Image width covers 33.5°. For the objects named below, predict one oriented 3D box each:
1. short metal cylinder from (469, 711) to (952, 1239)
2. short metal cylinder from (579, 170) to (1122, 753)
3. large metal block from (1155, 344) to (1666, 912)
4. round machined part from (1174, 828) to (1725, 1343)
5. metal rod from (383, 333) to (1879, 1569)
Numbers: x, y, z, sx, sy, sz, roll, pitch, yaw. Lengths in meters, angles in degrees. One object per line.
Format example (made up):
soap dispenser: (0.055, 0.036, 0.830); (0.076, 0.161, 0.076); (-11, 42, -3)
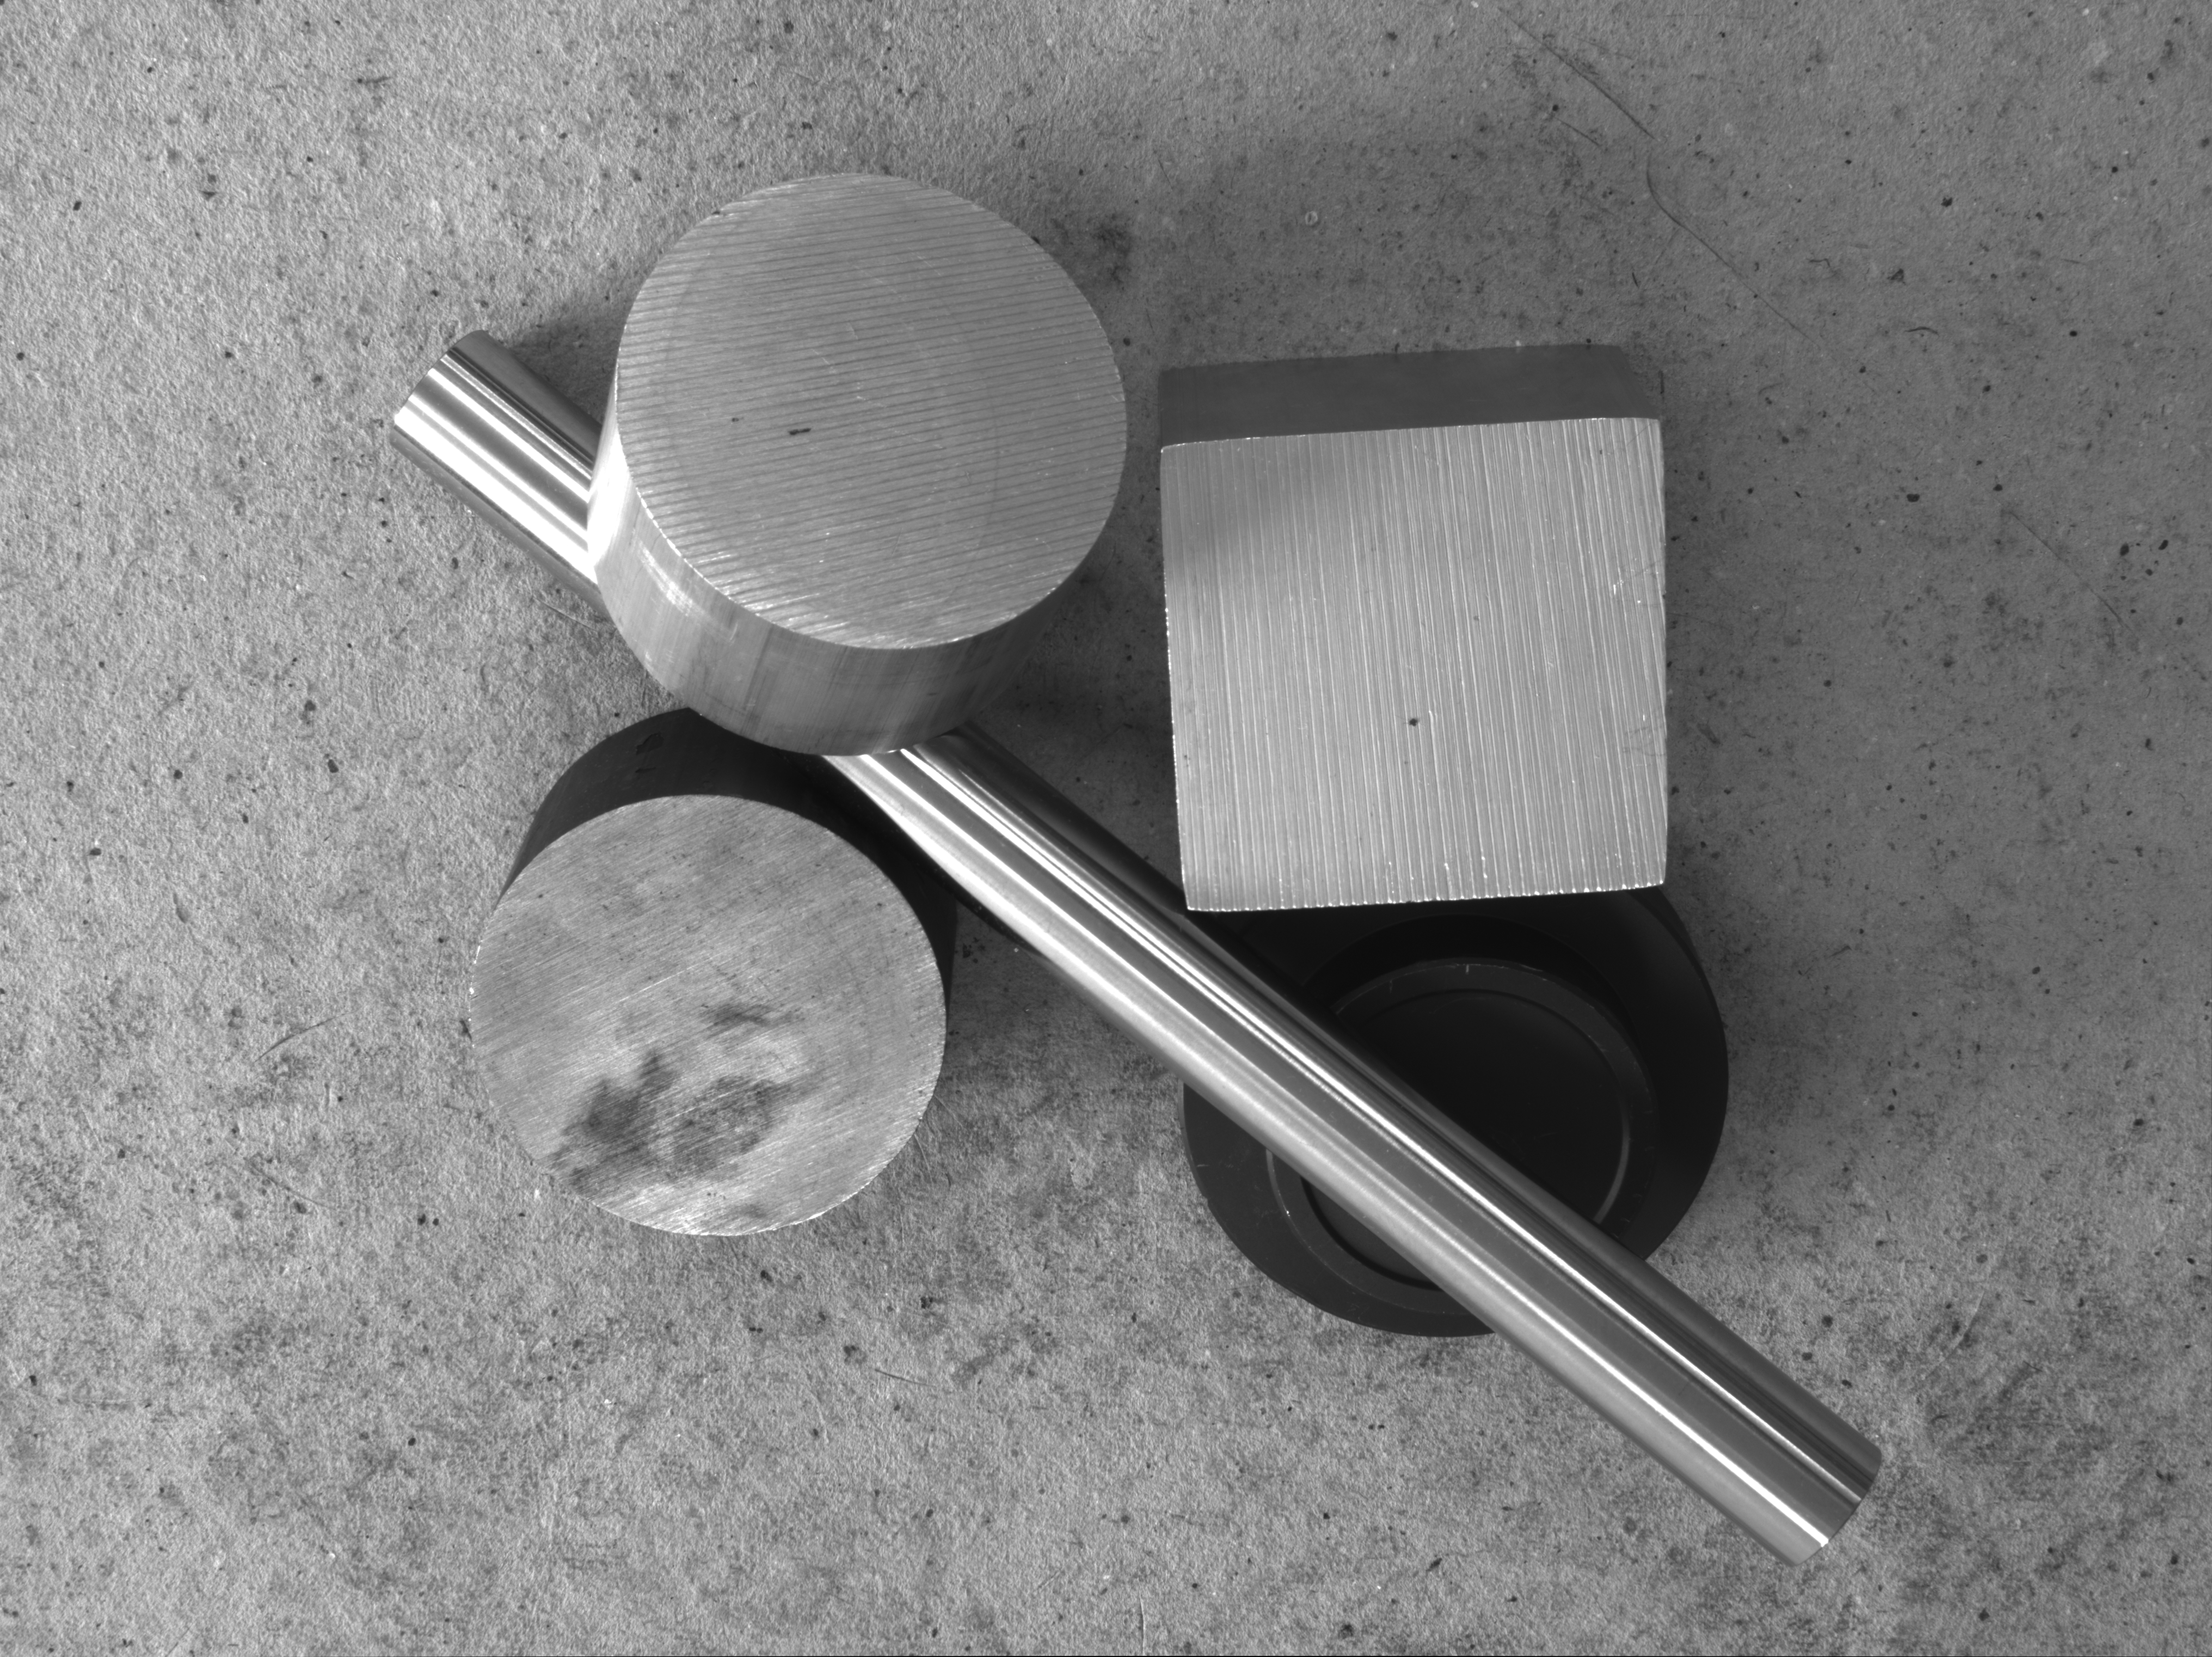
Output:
short metal cylinder: (-0.067, 0.024, 0.641); (0.080, 0.050, 0.080); (0, 110, 0)
short metal cylinder: (-0.042, -0.058, 0.590); (0.080, 0.050, 0.080); (4, 72, -13)
large metal block: (0.050, -0.034, 0.616); (0.080, 0.050, 0.080); (-3, 110, 1)
round machined part: (0.061, 0.048, 0.652); (0.098, 0.042, 0.098); (0, 110, 0)
metal rod: (0.004, 0.020, 0.616); (0.300, 0.025, 0.025); (39, 106, 1)
